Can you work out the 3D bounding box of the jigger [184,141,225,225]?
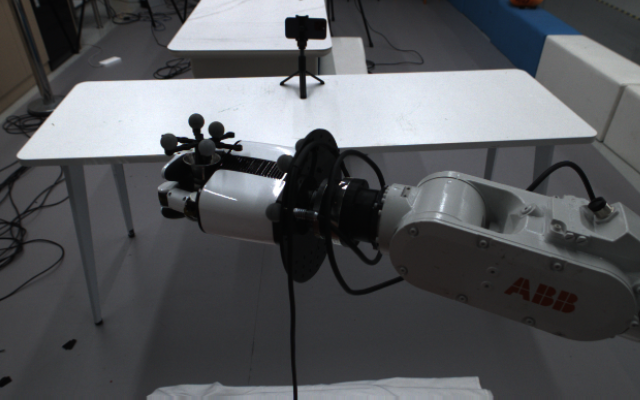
[{"bbox_3d":[-0.128,-0.015,0.540,0.043,0.071,0.043,5,26,-3],"label":"jigger"}]
